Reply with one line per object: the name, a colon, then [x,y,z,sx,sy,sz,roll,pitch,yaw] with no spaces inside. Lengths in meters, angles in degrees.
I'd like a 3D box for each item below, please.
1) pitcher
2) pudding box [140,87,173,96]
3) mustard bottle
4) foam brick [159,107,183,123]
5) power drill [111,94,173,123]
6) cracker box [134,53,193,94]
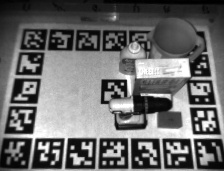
pitcher: [0.209,-0.127,0.759,0.188,0.243,0.133,5,72,5]
pudding box: [0.154,0.035,0.769,0.113,0.090,0.038,0,70,3]
mustard bottle: [0.076,-0.123,0.769,0.096,0.192,0.058,13,73,5]
foam brick: [0.211,0.107,0.780,0.078,0.051,0.052,2,74,1]
power drill: [0.089,0.071,0.684,0.184,0.188,0.057,-1,68,-1]
cracker box: [0.161,-0.028,0.733,0.164,0.214,0.072,-3,70,2]
